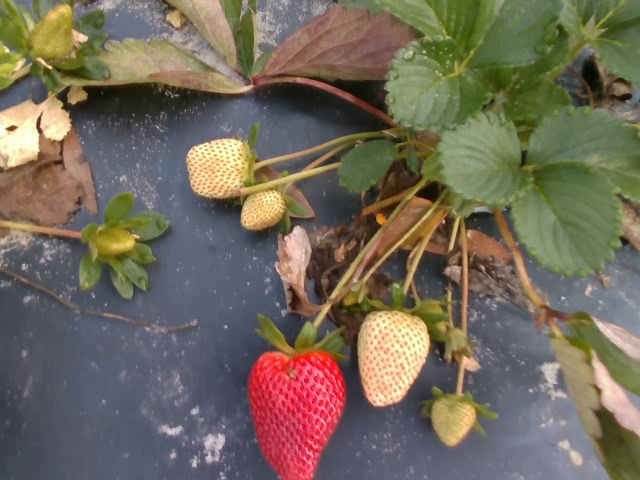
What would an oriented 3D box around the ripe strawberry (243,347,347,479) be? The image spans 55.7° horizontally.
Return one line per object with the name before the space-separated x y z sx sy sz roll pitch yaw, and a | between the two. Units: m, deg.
ripe strawberry | -0.010 0.070 0.244 0.050 0.059 0.034 -3 -29 -5
